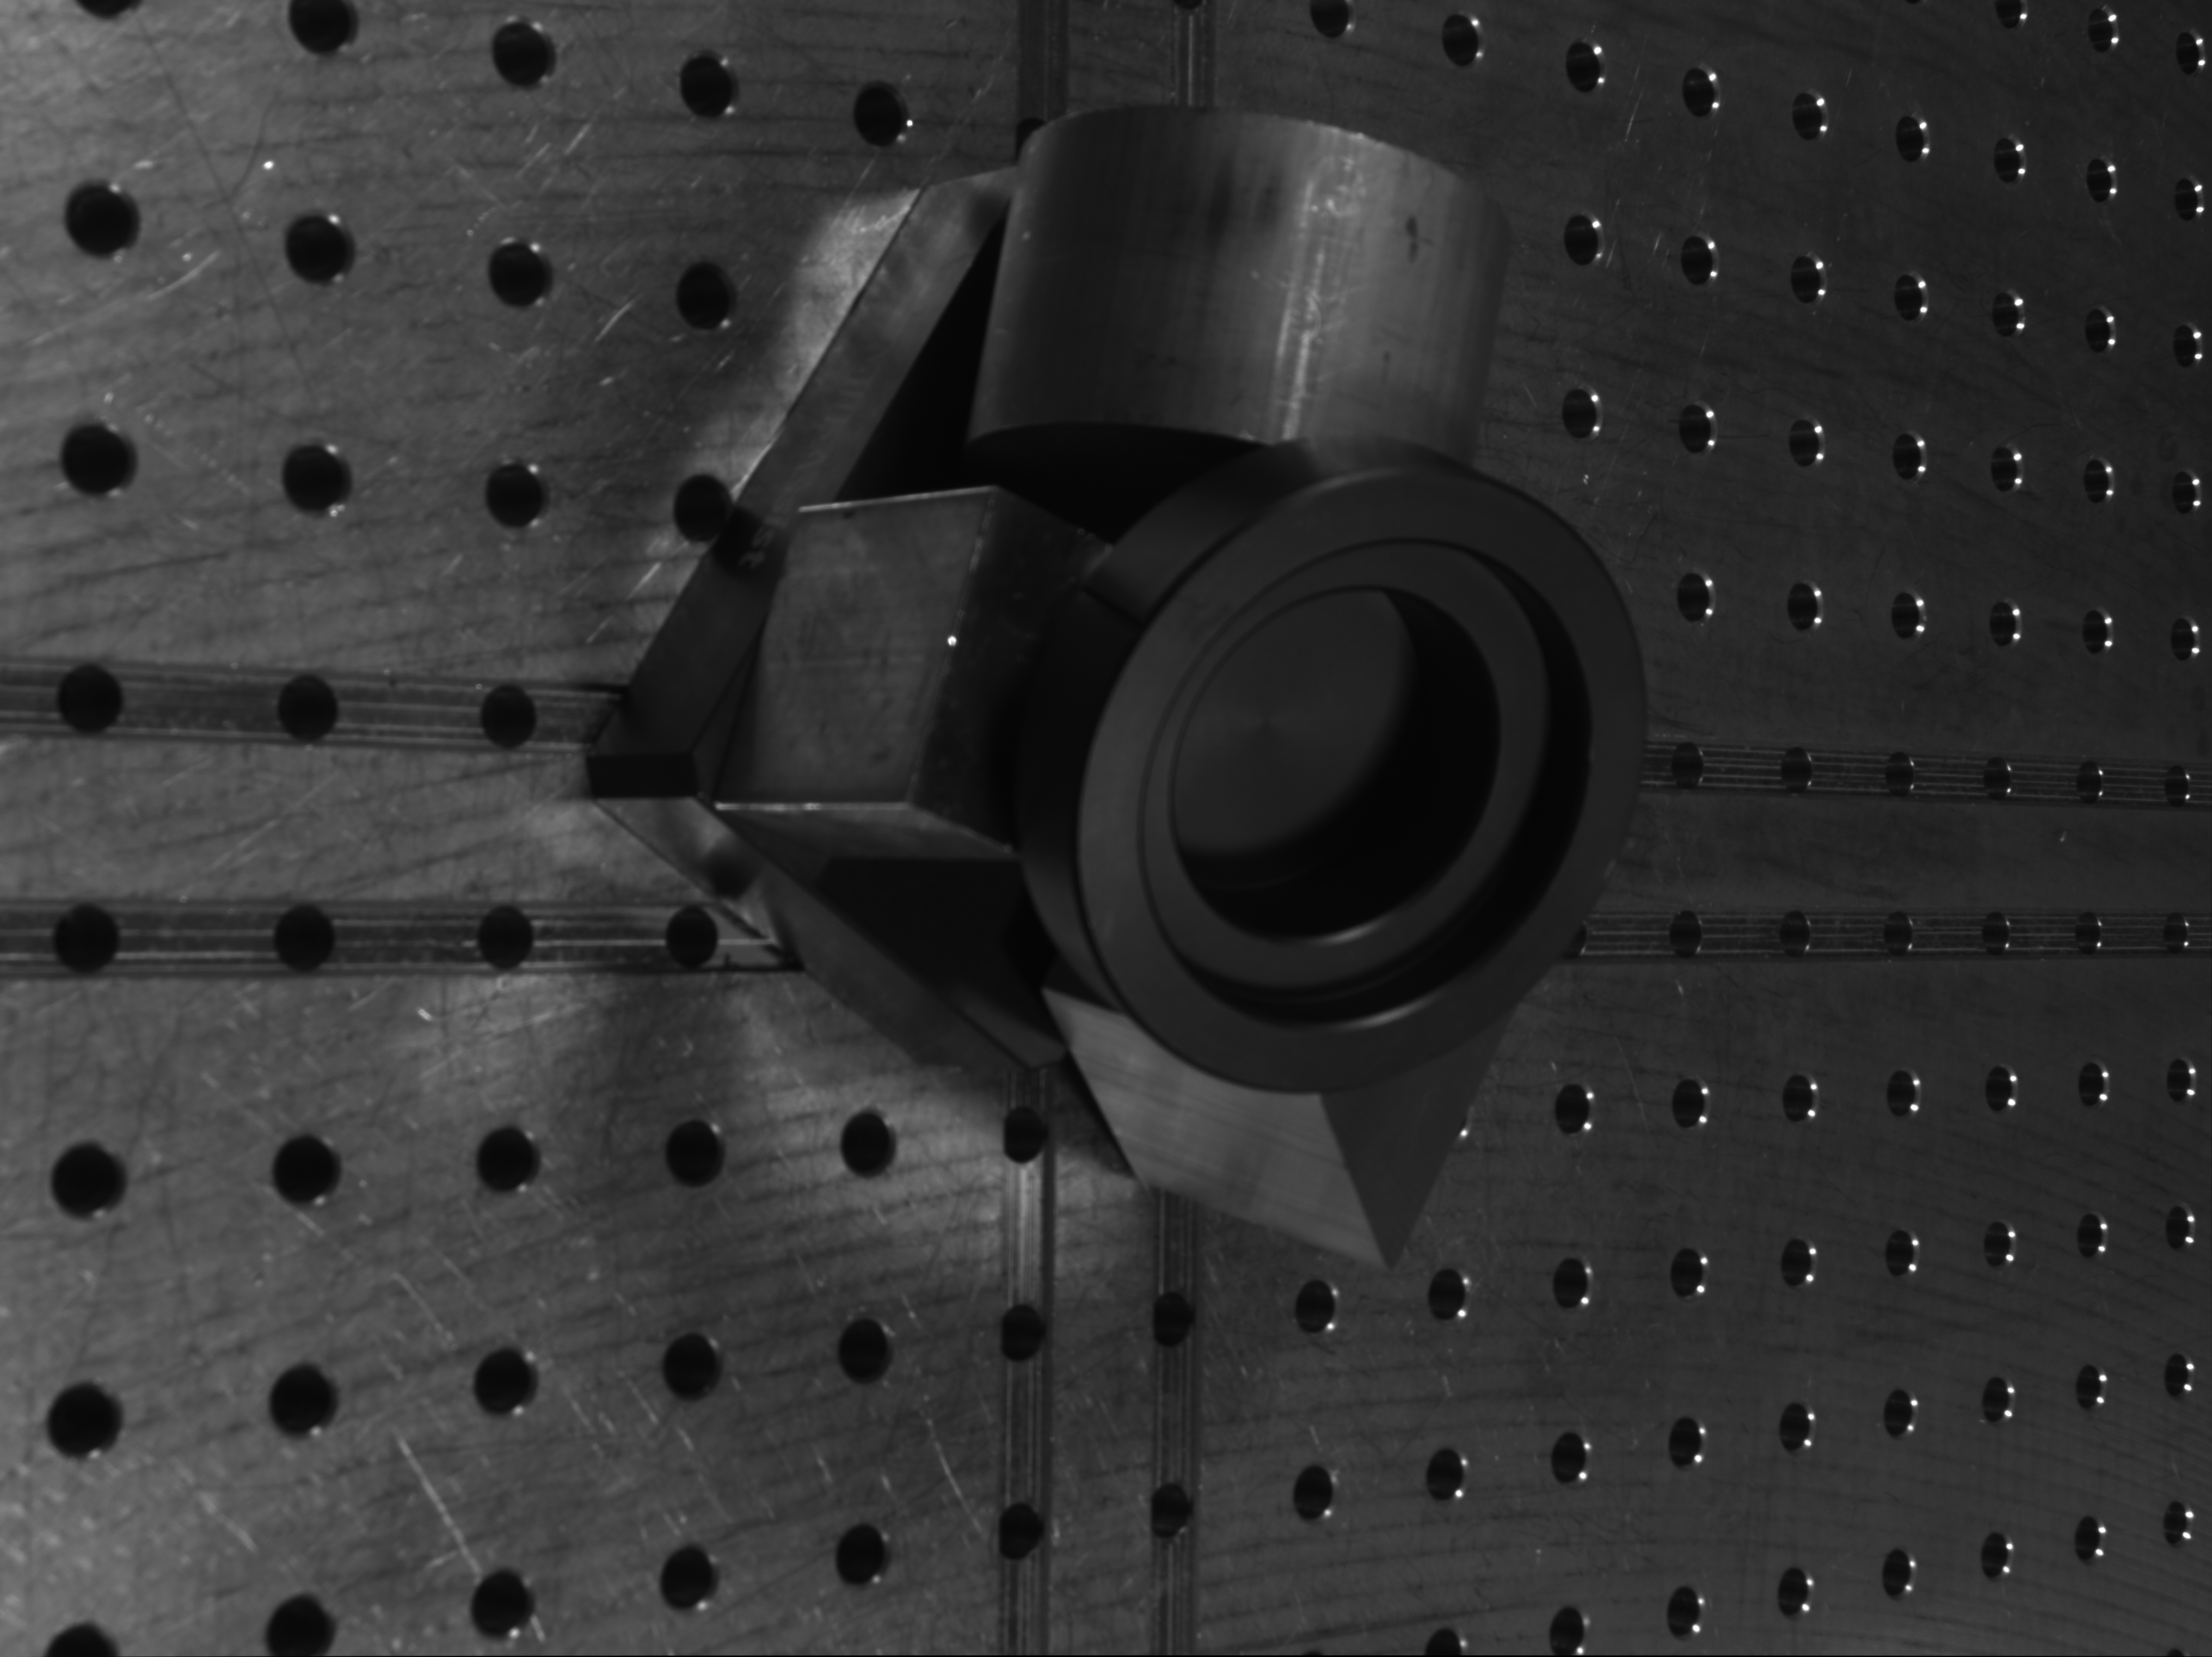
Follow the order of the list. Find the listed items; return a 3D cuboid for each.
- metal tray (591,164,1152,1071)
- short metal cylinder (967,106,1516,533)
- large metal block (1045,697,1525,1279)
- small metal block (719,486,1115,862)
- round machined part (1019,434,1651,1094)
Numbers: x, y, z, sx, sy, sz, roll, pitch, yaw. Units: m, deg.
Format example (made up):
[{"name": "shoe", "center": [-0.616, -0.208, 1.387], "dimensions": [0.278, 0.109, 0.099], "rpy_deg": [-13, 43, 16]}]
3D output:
[{"name": "metal tray", "center": [-0.019, -0.036, 0.622], "dimensions": [0.090, 0.030, 0.130], "rpy_deg": [42, 65, -32]}, {"name": "short metal cylinder", "center": [0.022, -0.076, 0.584], "dimensions": [0.080, 0.080, 0.050], "rpy_deg": [17, 79, -38]}, {"name": "large metal block", "center": [0.038, 0.019, 0.632], "dimensions": [0.080, 0.050, 0.080], "rpy_deg": [-62, 155, -21]}, {"name": "small metal block", "center": [-0.028, -0.023, 0.560], "dimensions": [0.025, 0.050, 0.050], "rpy_deg": [25, 75, -37]}, {"name": "round machined part", "center": [0.031, -0.013, 0.558], "dimensions": [0.098, 0.042, 0.098], "rpy_deg": [-10, 114, -24]}]
